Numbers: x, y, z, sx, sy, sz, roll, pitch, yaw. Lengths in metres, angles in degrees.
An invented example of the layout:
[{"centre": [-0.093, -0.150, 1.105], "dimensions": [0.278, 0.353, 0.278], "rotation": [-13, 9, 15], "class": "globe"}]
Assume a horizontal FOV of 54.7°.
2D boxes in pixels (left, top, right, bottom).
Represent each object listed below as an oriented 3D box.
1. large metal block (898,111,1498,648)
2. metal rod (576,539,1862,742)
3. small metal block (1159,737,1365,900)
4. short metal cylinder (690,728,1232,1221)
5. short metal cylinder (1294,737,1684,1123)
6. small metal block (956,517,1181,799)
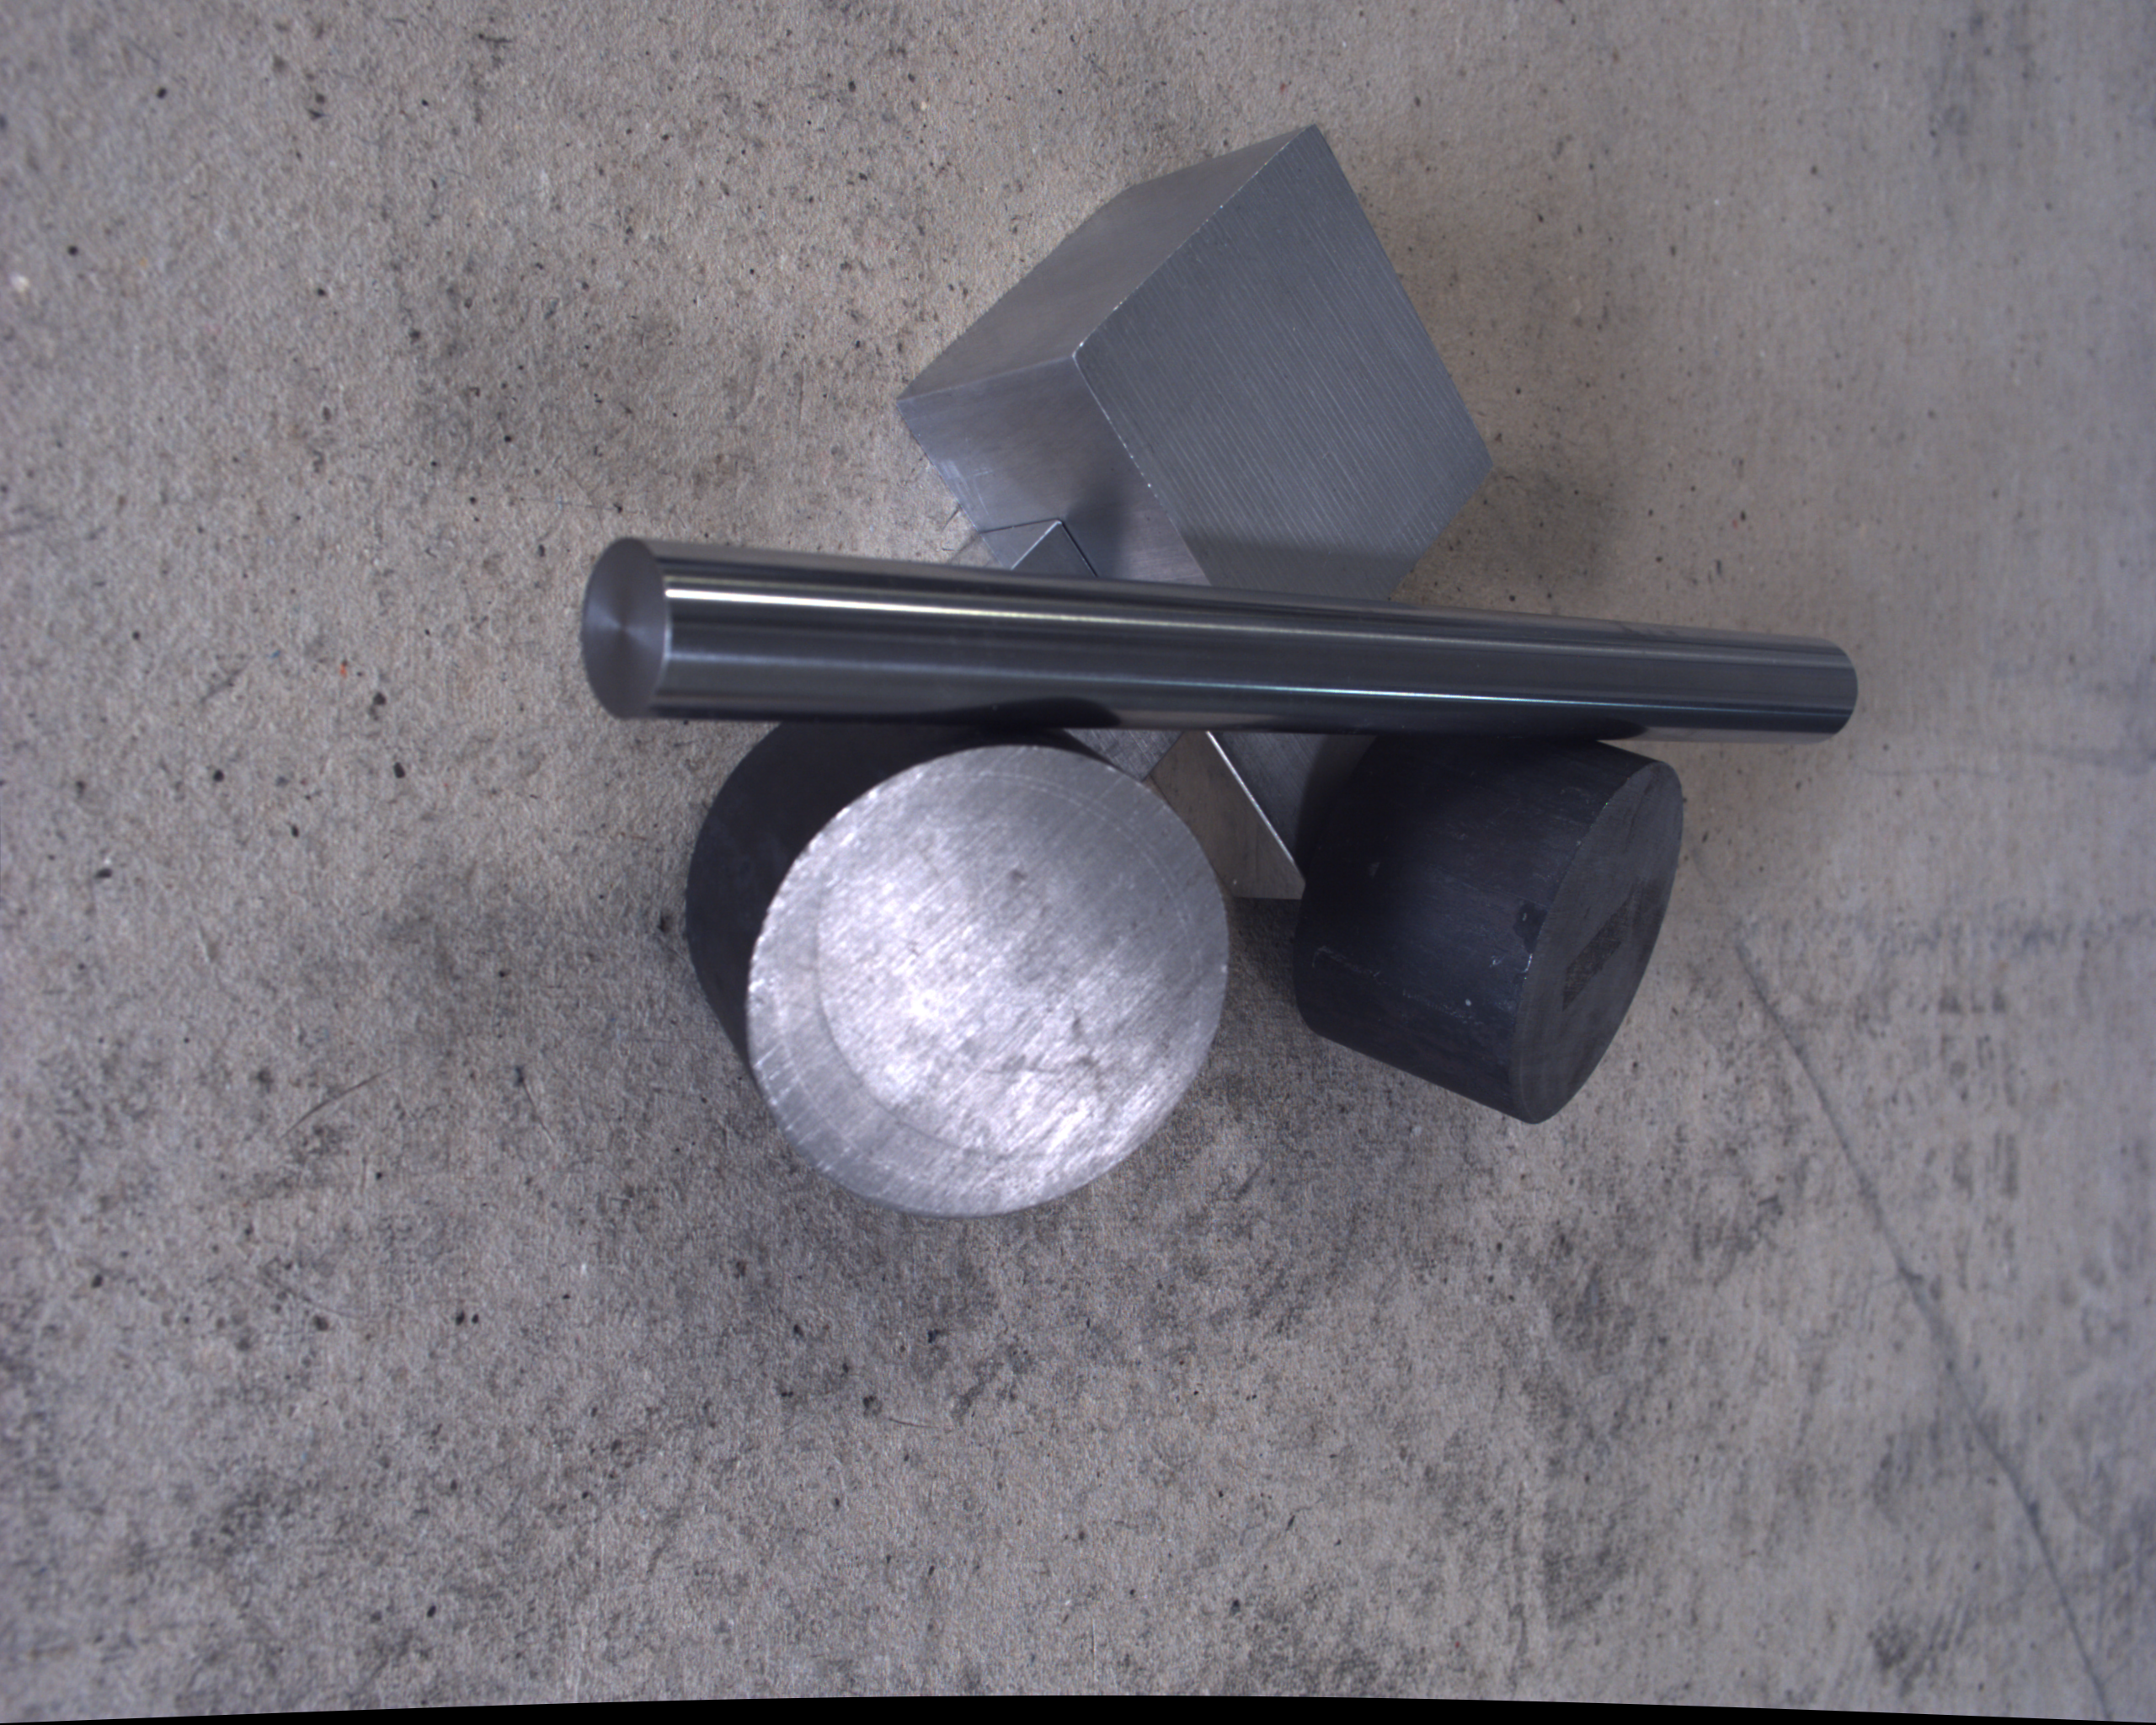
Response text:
[{"centre": [0.026, -0.085, 0.408], "dimensions": [0.080, 0.050, 0.080], "rotation": [-50, 120, -28], "class": "large metal block"}, {"centre": [0.053, -0.036, 0.383], "dimensions": [0.302, 0.025, 0.025], "rotation": [-2, 92, -40], "class": "metal rod"}, {"centre": [0.044, -0.027, 0.442], "dimensions": [0.050, 0.025, 0.050], "rotation": [-51, 120, -28], "class": "small metal block"}, {"centre": [-0.021, 0.013, 0.353], "dimensions": [0.081, 0.050, 0.079], "rotation": [-6, 109, -19], "class": "short metal cylinder"}, {"centre": [0.089, 0.009, 0.446], "dimensions": [0.081, 0.050, 0.079], "rotation": [-36, 137, -43], "class": "short metal cylinder"}, {"centre": [-0.012, -0.029, 0.396], "dimensions": [0.050, 0.025, 0.050], "rotation": [-51, 120, -29], "class": "small metal block"}]
